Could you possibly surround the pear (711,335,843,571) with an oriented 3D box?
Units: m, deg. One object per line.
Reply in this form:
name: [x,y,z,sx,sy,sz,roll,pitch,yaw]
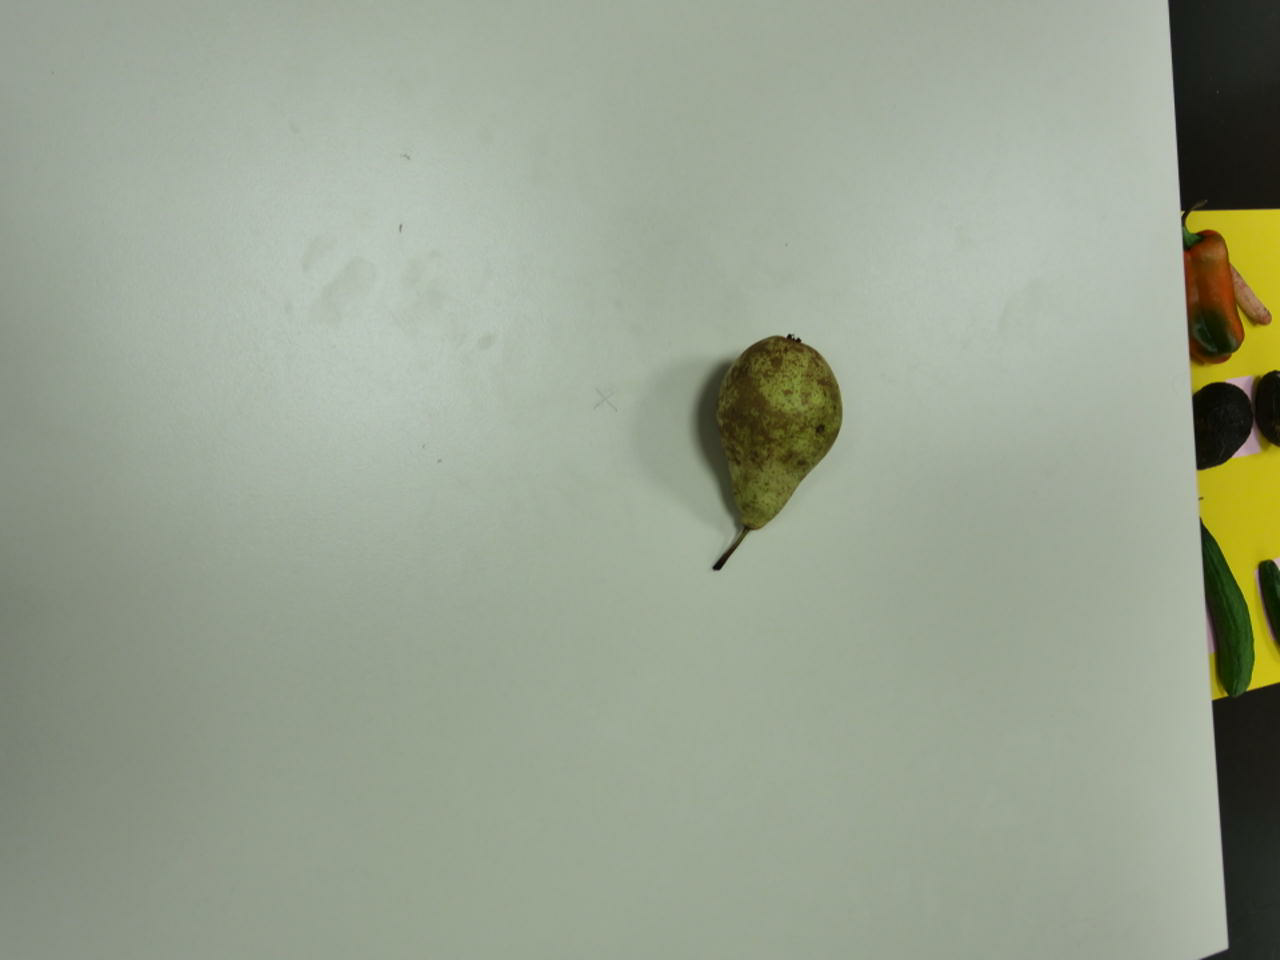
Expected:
pear: [0.082,-0.018,0.571,0.071,0.075,0.128,-13,96,-22]
